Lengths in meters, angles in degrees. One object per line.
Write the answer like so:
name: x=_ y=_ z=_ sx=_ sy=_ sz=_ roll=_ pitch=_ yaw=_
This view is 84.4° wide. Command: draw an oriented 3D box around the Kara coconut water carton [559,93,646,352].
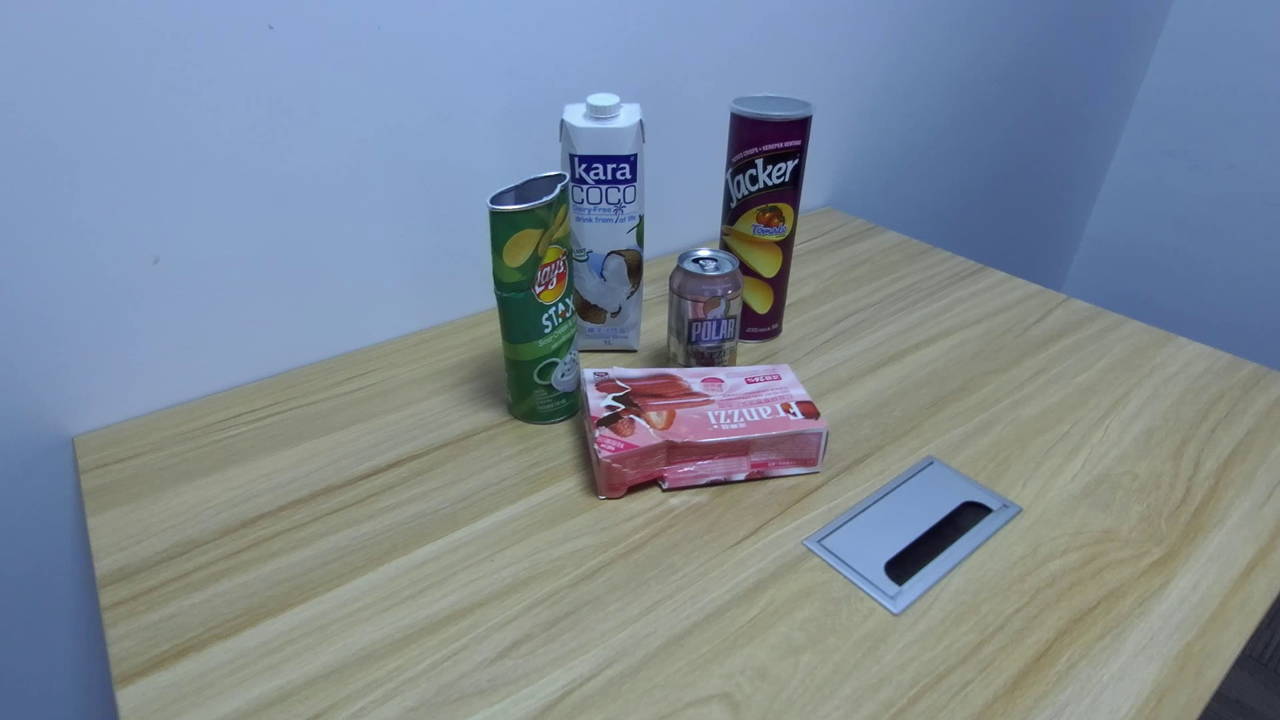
Kara coconut water carton: x=-0.034 y=-0.127 z=0.676 sx=0.077 sy=0.245 sz=0.075 roll=0 pitch=31 yaw=0

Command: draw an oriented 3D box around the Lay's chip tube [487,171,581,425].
Lay's chip tube: x=-0.085 y=-0.046 z=0.594 sx=0.069 sy=0.199 sz=0.074 roll=-6 pitch=33 yaw=-11

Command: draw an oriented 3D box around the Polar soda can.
Polar soda can: x=0.059 y=-0.036 z=0.648 sx=0.067 sy=0.126 sz=0.067 roll=0 pitch=33 yaw=0

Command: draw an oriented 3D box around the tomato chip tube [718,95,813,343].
tomato chip tube: x=0.119 y=-0.135 z=0.705 sx=0.078 sy=0.234 sz=0.078 roll=1 pitch=32 yaw=0

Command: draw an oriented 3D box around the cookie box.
cookie box: x=0.049 y=0.048 z=0.575 sx=0.186 sy=0.059 sz=0.104 roll=-5 pitch=35 yaw=-11
